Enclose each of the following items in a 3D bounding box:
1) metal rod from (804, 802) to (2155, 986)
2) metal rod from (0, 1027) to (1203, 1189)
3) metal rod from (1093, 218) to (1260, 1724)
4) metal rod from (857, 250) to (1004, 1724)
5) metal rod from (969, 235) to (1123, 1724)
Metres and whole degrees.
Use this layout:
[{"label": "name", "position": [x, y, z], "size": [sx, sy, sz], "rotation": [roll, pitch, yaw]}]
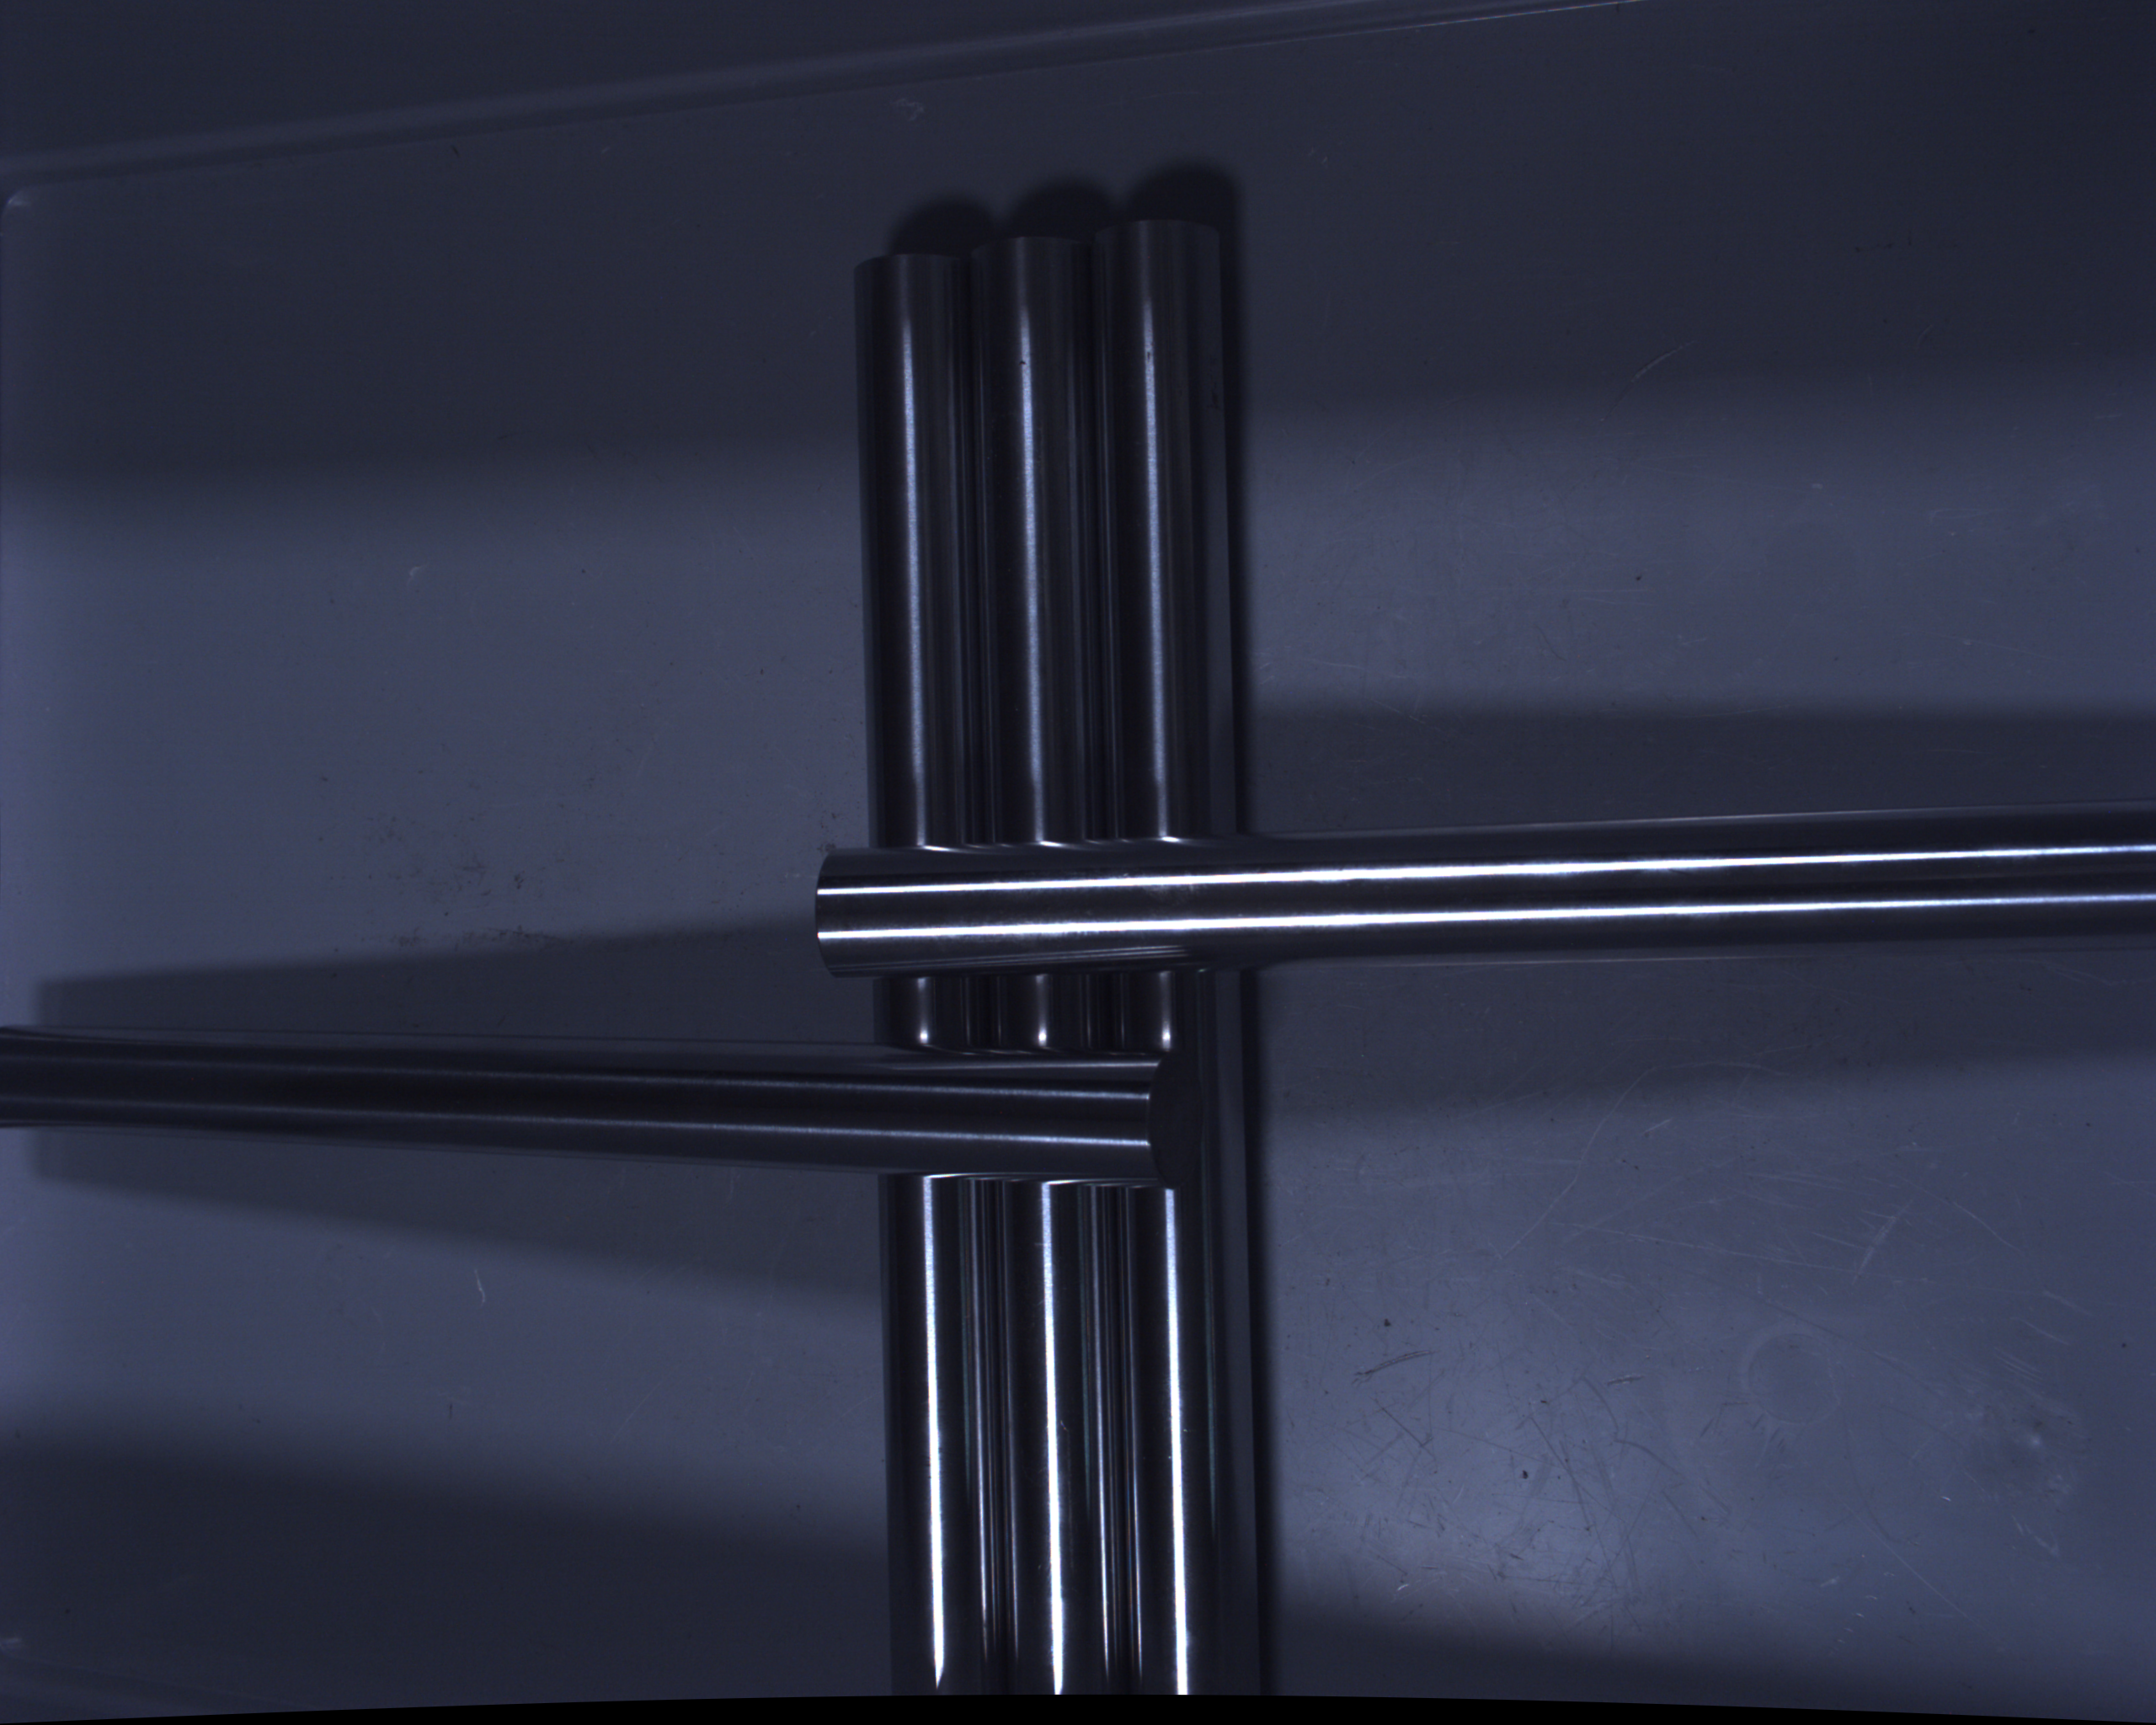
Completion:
[{"label": "metal rod", "position": [0.100, 0.005, 0.355], "size": [0.301, 0.025, 0.025], "rotation": [-2, 89, 13]}, {"label": "metal rod", "position": [-0.119, 0.048, 0.432], "size": [0.301, 0.025, 0.025], "rotation": [-1, 90, 25]}, {"label": "metal rod", "position": [0.019, 0.028, 0.402], "size": [0.025, 0.025, 0.298], "rotation": [-2, 89, 19]}, {"label": "metal rod", "position": [-0.028, 0.030, 0.418], "size": [0.025, 0.025, 0.298], "rotation": [-2, 89, 19]}, {"label": "metal rod", "position": [-0.005, 0.029, 0.410], "size": [0.025, 0.025, 0.298], "rotation": [-2, 89, 19]}]
